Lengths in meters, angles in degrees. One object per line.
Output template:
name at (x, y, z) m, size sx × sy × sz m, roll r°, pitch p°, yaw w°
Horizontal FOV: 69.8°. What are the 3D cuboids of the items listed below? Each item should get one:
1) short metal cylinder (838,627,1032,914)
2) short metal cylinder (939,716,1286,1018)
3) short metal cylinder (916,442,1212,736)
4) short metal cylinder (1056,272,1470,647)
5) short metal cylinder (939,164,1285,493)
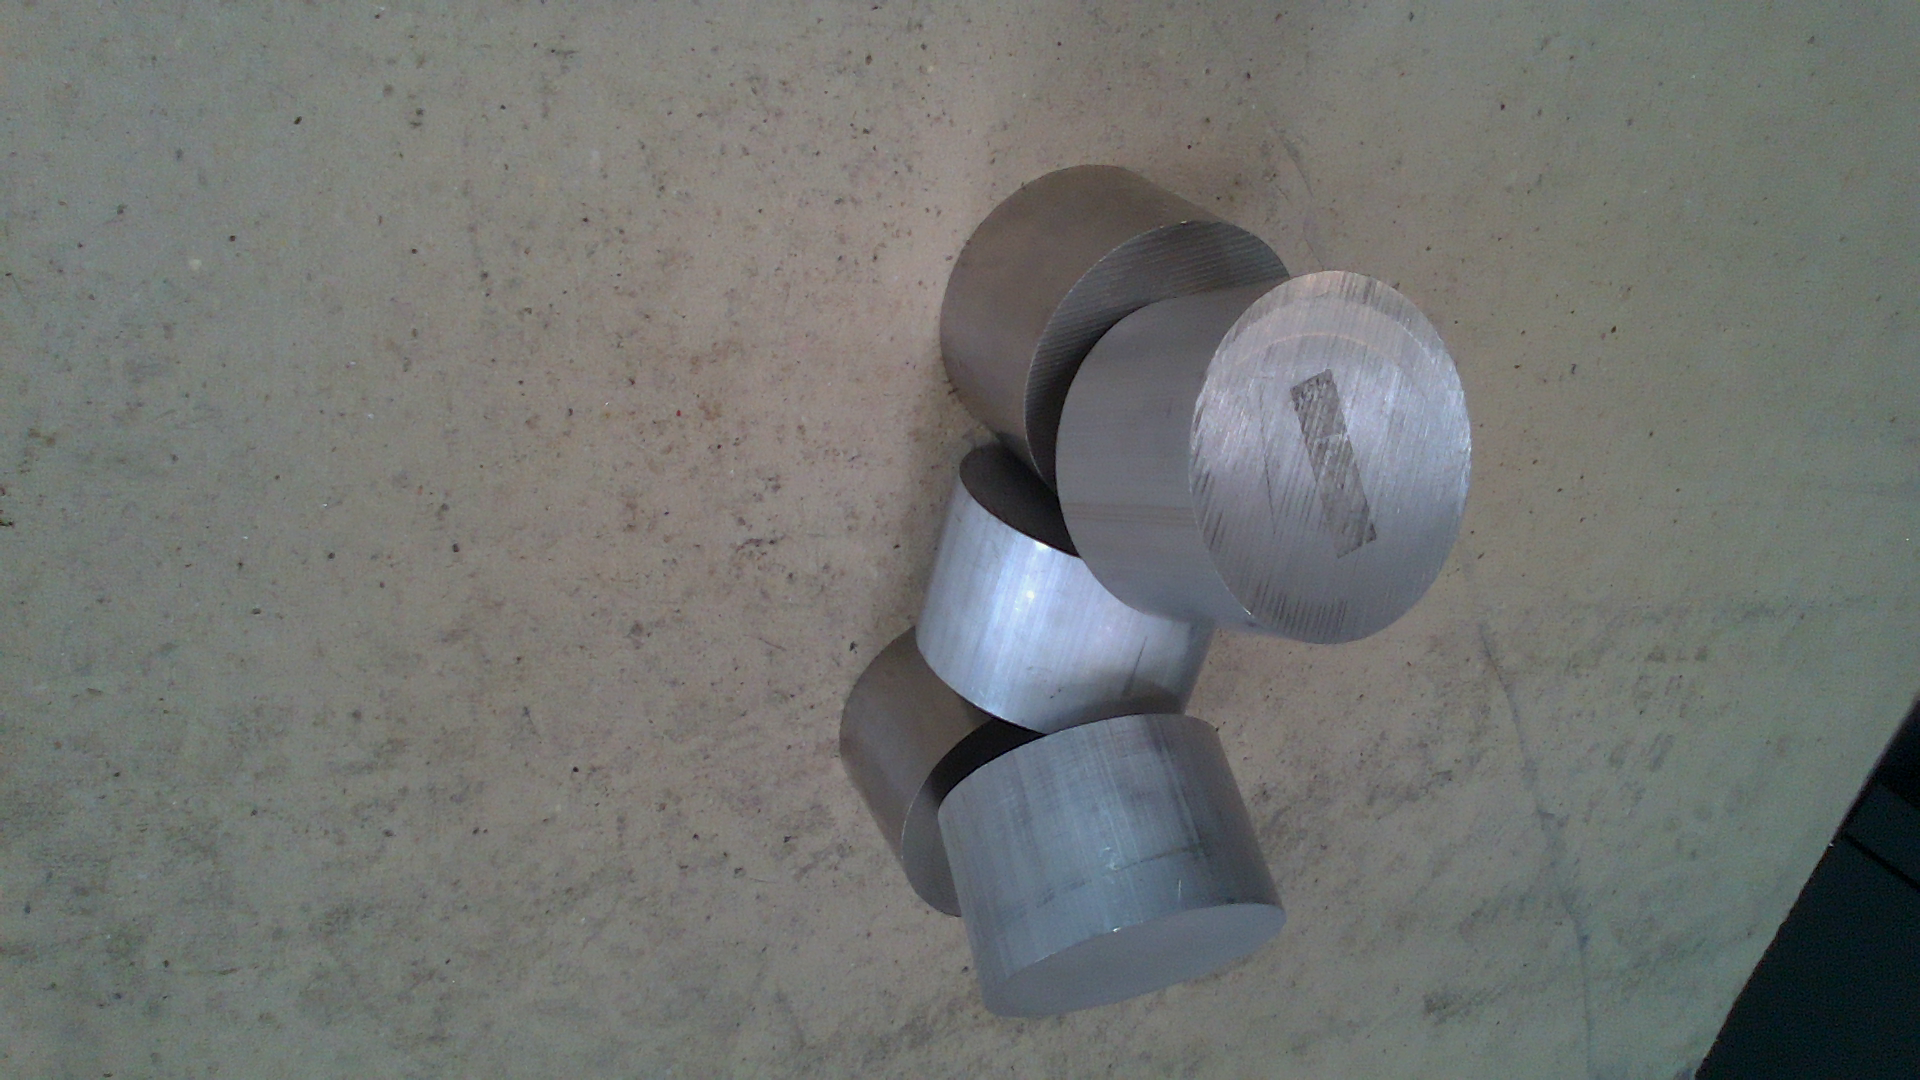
short metal cylinder at (0.009, 0.067, 0.419) m, size 0.080 × 0.050 × 0.080 m, roll -14°, pitch 124°, yaw -21°
short metal cylinder at (0.039, 0.087, 0.362) m, size 0.080 × 0.050 × 0.080 m, roll -13°, pitch 150°, yaw -7°
short metal cylinder at (0.032, 0.012, 0.379) m, size 0.080 × 0.080 × 0.050 m, roll 1°, pitch 118°, yaw -29°
short metal cylinder at (0.069, -0.018, 0.316) m, size 0.080 × 0.050 × 0.080 m, roll -2°, pitch 94°, yaw -29°
short metal cylinder at (0.041, -0.053, 0.364) m, size 0.080 × 0.050 × 0.080 m, roll -14°, pitch 124°, yaw -21°
